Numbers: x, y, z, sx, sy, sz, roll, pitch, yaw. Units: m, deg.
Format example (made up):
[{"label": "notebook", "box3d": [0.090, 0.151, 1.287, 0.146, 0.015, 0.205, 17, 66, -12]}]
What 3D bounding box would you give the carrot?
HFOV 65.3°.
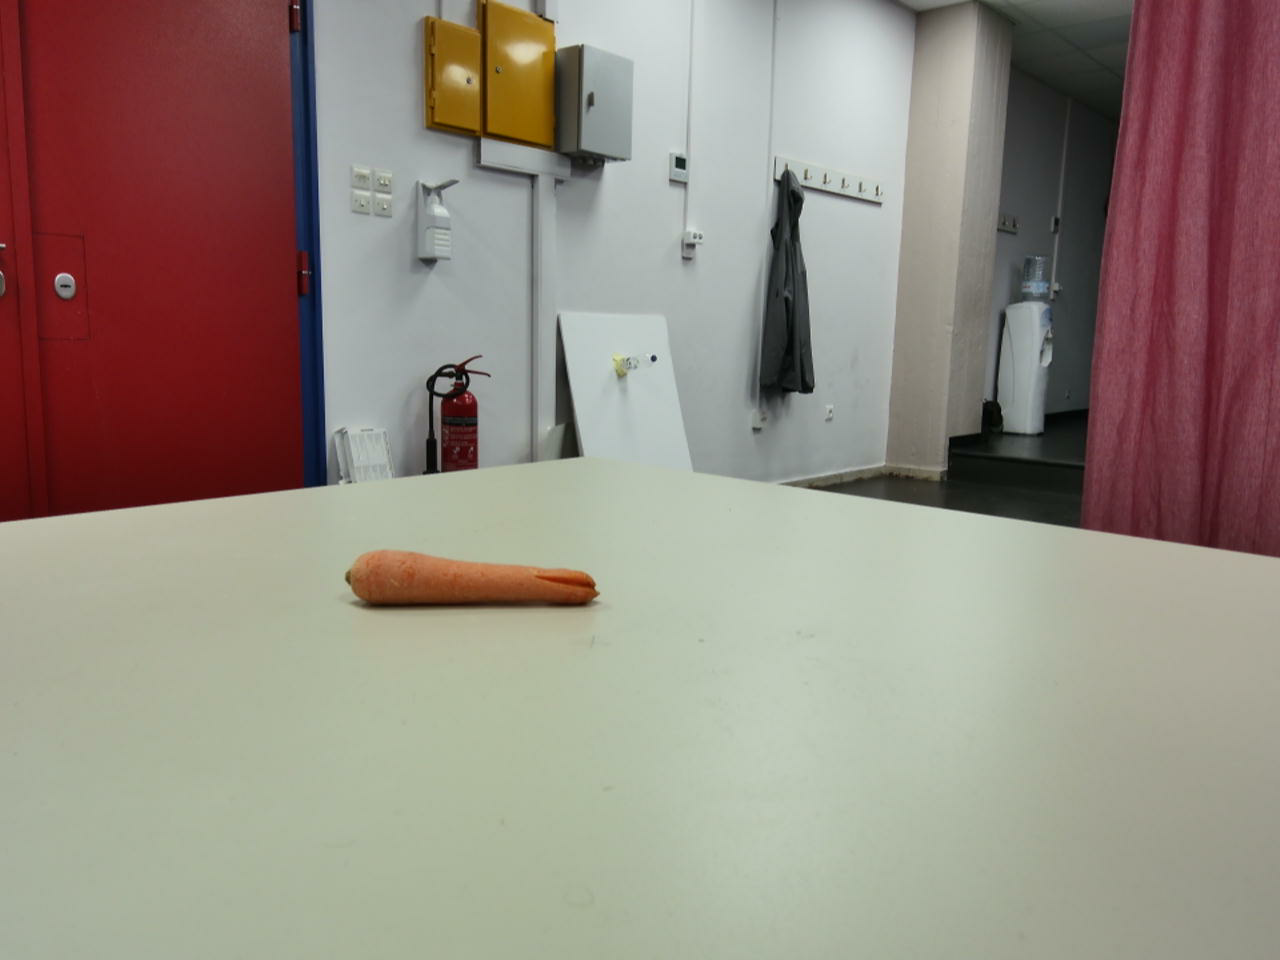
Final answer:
[{"label": "carrot", "box3d": [-0.091, 0.053, 0.545, 0.136, 0.032, 0.030, 0, 7, -2]}]
